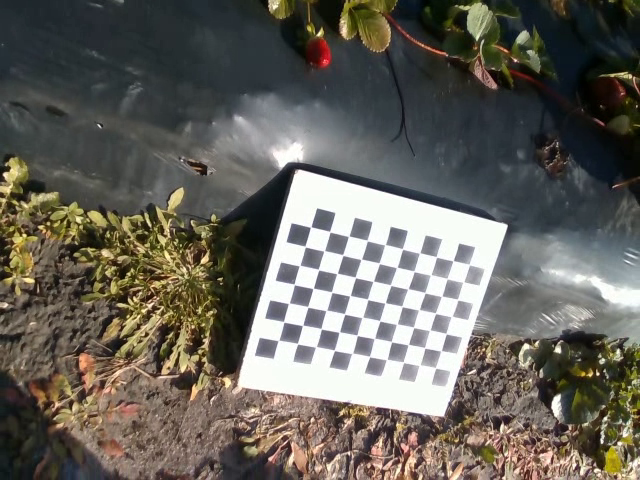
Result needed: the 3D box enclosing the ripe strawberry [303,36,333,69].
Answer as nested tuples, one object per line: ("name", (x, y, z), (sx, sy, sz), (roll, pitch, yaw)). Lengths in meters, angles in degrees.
("ripe strawberry", (-0.005, -0.178, 0.497), (0.028, 0.041, 0.031), (-12, -43, -10))
